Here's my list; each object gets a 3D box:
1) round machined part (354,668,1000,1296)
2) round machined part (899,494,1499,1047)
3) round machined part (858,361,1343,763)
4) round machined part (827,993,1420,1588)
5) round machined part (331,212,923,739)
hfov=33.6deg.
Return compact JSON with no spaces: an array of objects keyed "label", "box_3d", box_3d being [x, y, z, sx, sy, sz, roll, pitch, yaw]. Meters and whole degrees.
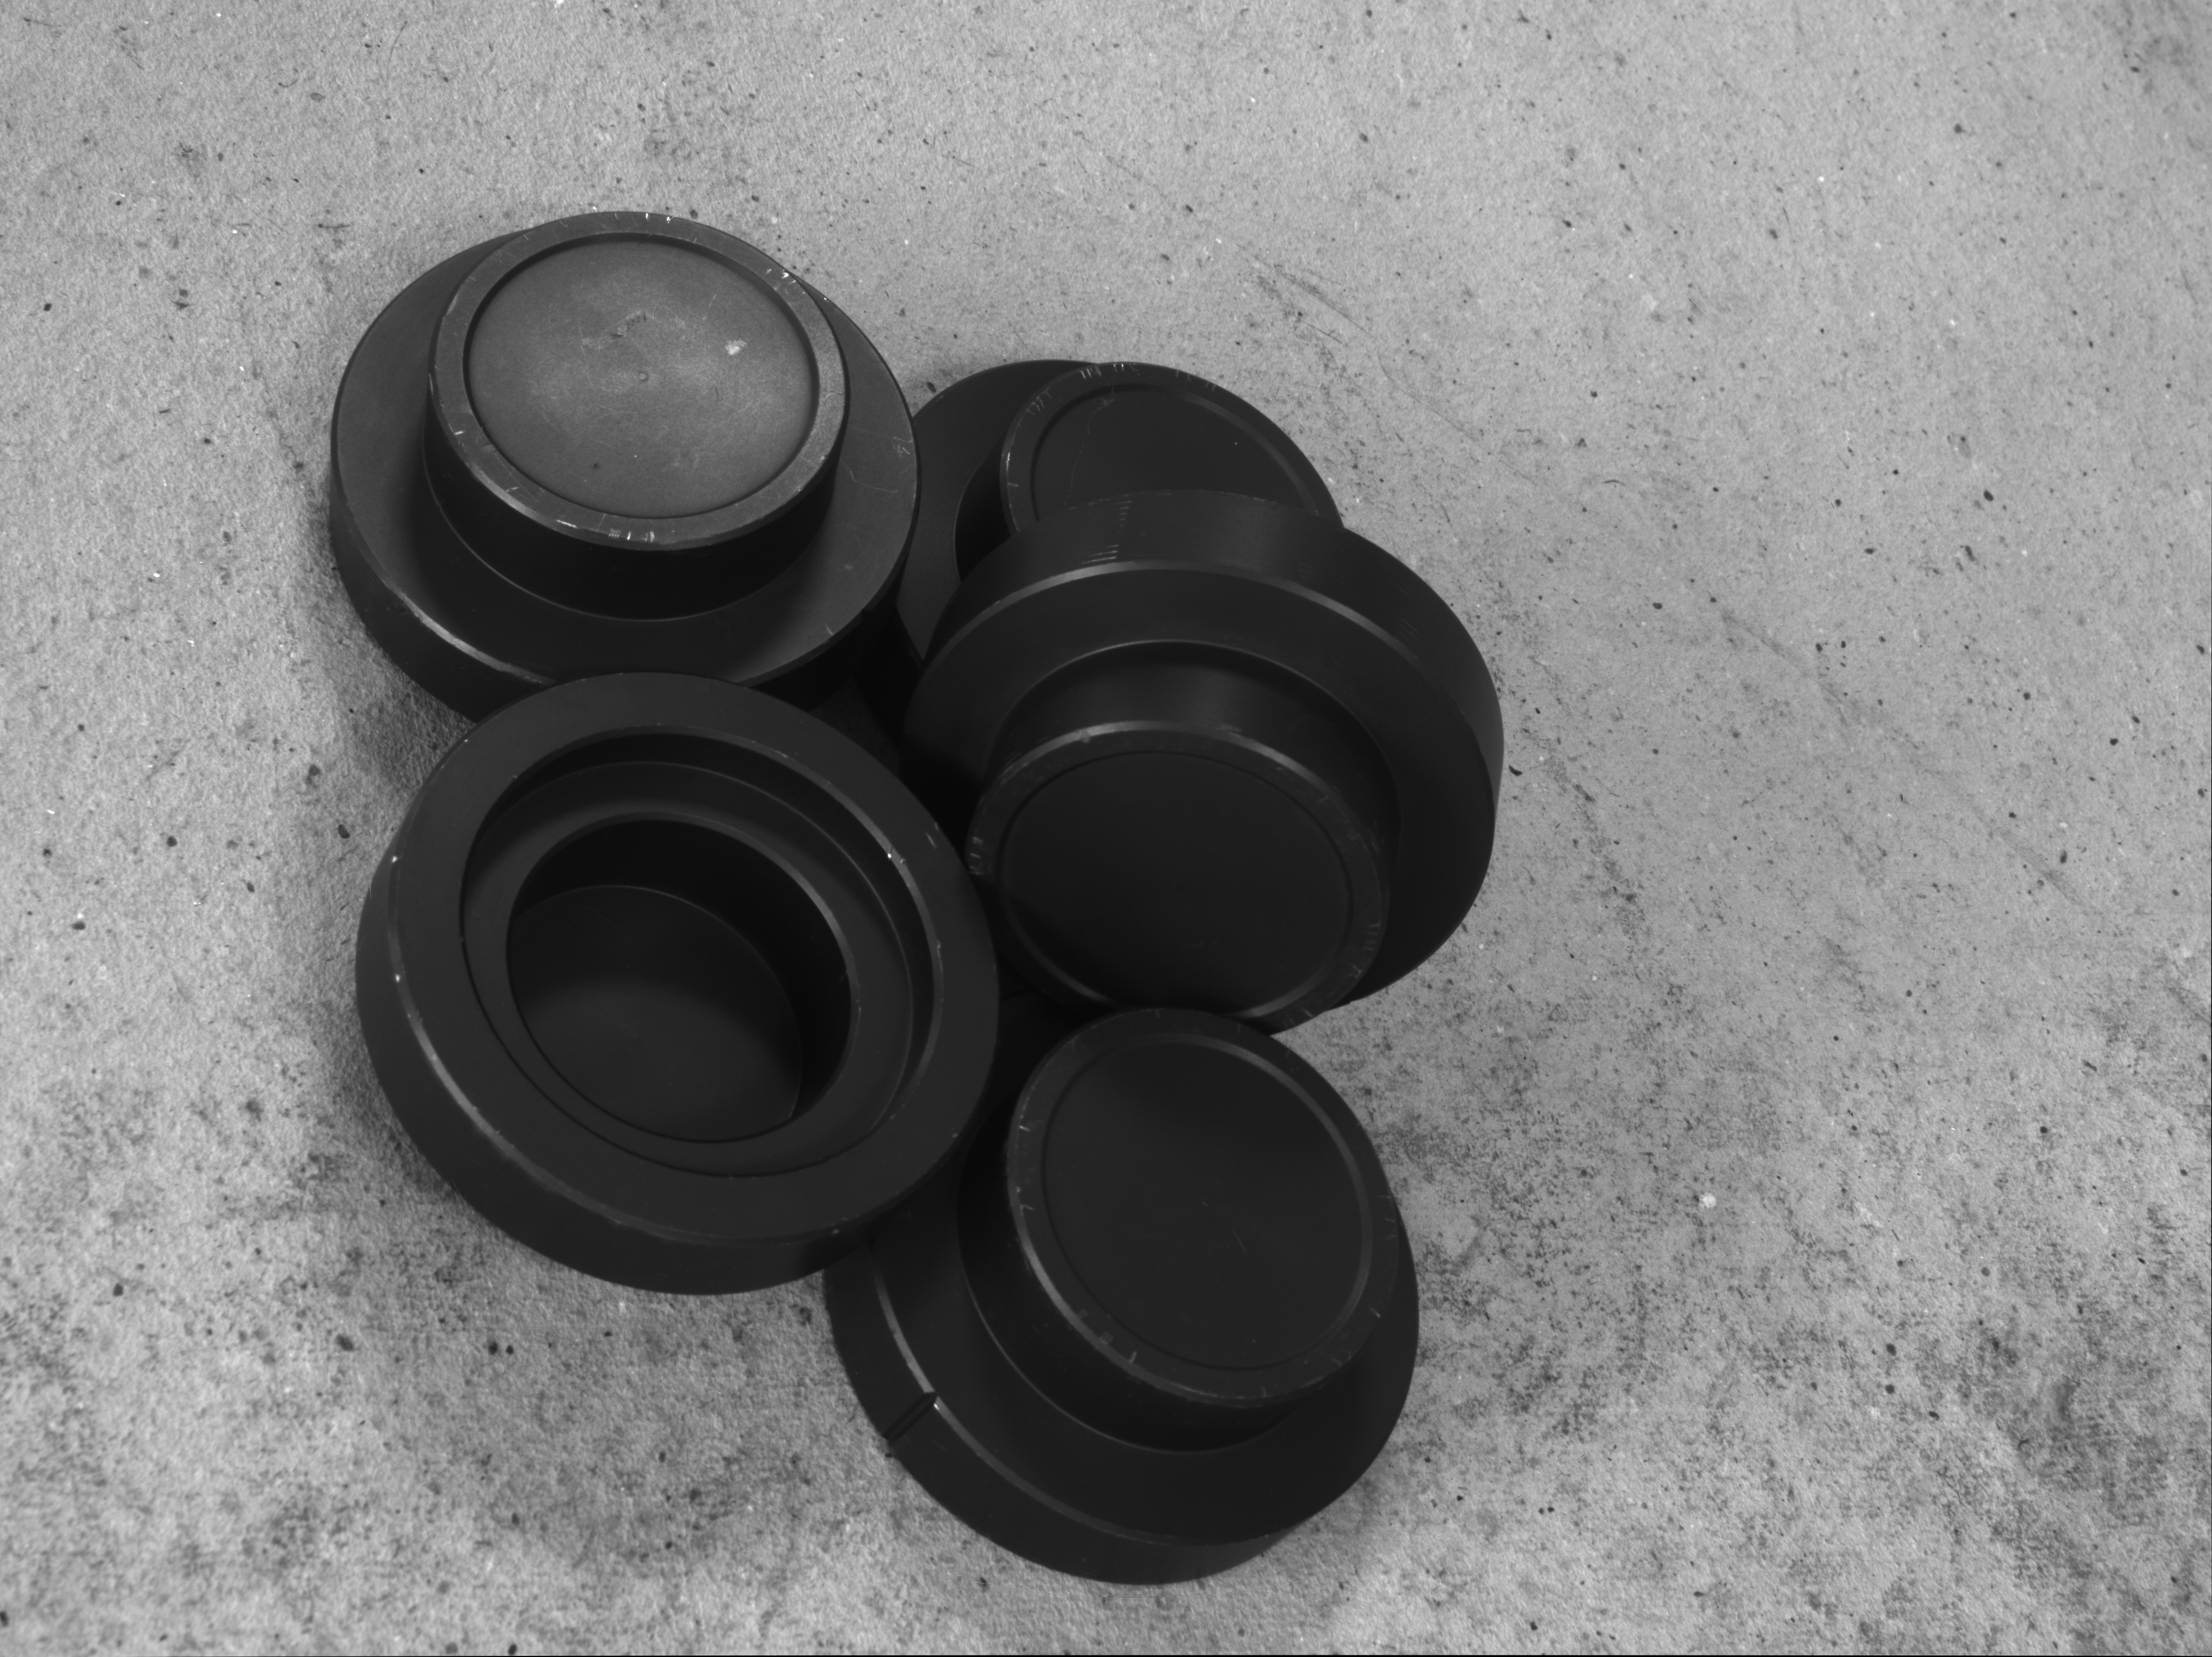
[{"label":"round machined part","box_3d":[-0.069,0.027,0.574,0.098,0.042,0.098,13,58,-21]},{"label":"round machined part","box_3d":[0.014,-0.003,0.598,0.098,0.098,0.042,26,39,-12]},{"label":"round machined part","box_3d":[0.005,-0.044,0.657,0.098,0.042,0.098,14,54,-21]},{"label":"round machined part","box_3d":[0.008,0.068,0.590,0.098,0.042,0.098,14,54,-20]},{"label":"round machined part","box_3d":[-0.079,-0.063,0.611,0.098,0.042,0.098,6,59,-9]}]
